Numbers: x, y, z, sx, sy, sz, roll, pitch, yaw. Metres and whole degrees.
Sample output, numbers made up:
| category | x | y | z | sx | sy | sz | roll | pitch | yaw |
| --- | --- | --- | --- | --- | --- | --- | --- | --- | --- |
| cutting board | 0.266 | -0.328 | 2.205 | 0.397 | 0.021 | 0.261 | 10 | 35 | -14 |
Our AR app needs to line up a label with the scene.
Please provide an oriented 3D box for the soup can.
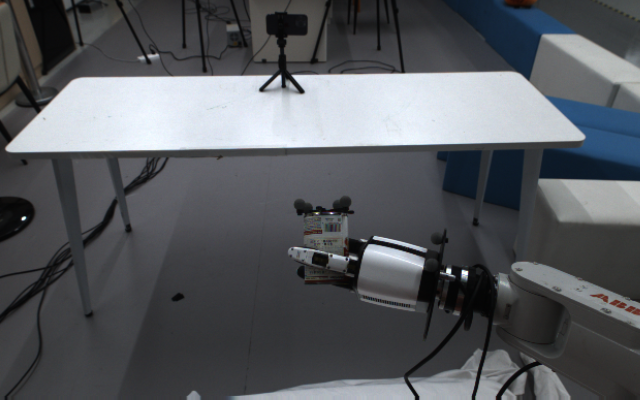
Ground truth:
| category | x | y | z | sx | sy | sz | roll | pitch | yaw |
| --- | --- | --- | --- | --- | --- | --- | --- | --- | --- |
| soup can | 0.010 | 0.073 | 0.707 | 0.067 | 0.101 | 0.067 | -1 | -9 | 0 |
